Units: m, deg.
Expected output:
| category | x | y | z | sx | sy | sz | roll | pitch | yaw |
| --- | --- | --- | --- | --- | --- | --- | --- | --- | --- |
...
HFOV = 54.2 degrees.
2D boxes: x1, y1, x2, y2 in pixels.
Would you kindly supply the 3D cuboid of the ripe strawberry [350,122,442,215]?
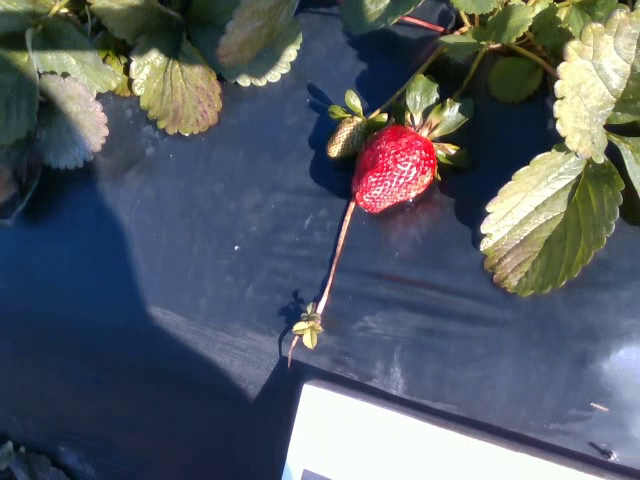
| category | x | y | z | sx | sy | sz | roll | pitch | yaw |
| --- | --- | --- | --- | --- | --- | --- | --- | --- | --- |
| ripe strawberry | 0.032 | -0.032 | 0.283 | 0.041 | 0.043 | 0.053 | 25 | 51 | 17 |
